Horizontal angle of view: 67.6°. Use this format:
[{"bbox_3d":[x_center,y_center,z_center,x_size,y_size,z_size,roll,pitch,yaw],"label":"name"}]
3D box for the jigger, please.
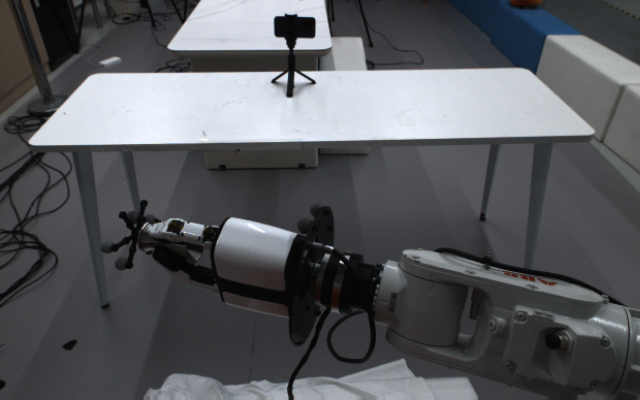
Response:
[{"bbox_3d":[-0.177,0.048,0.596,0.071,0.043,0.043,10,35,16],"label":"jigger"}]
